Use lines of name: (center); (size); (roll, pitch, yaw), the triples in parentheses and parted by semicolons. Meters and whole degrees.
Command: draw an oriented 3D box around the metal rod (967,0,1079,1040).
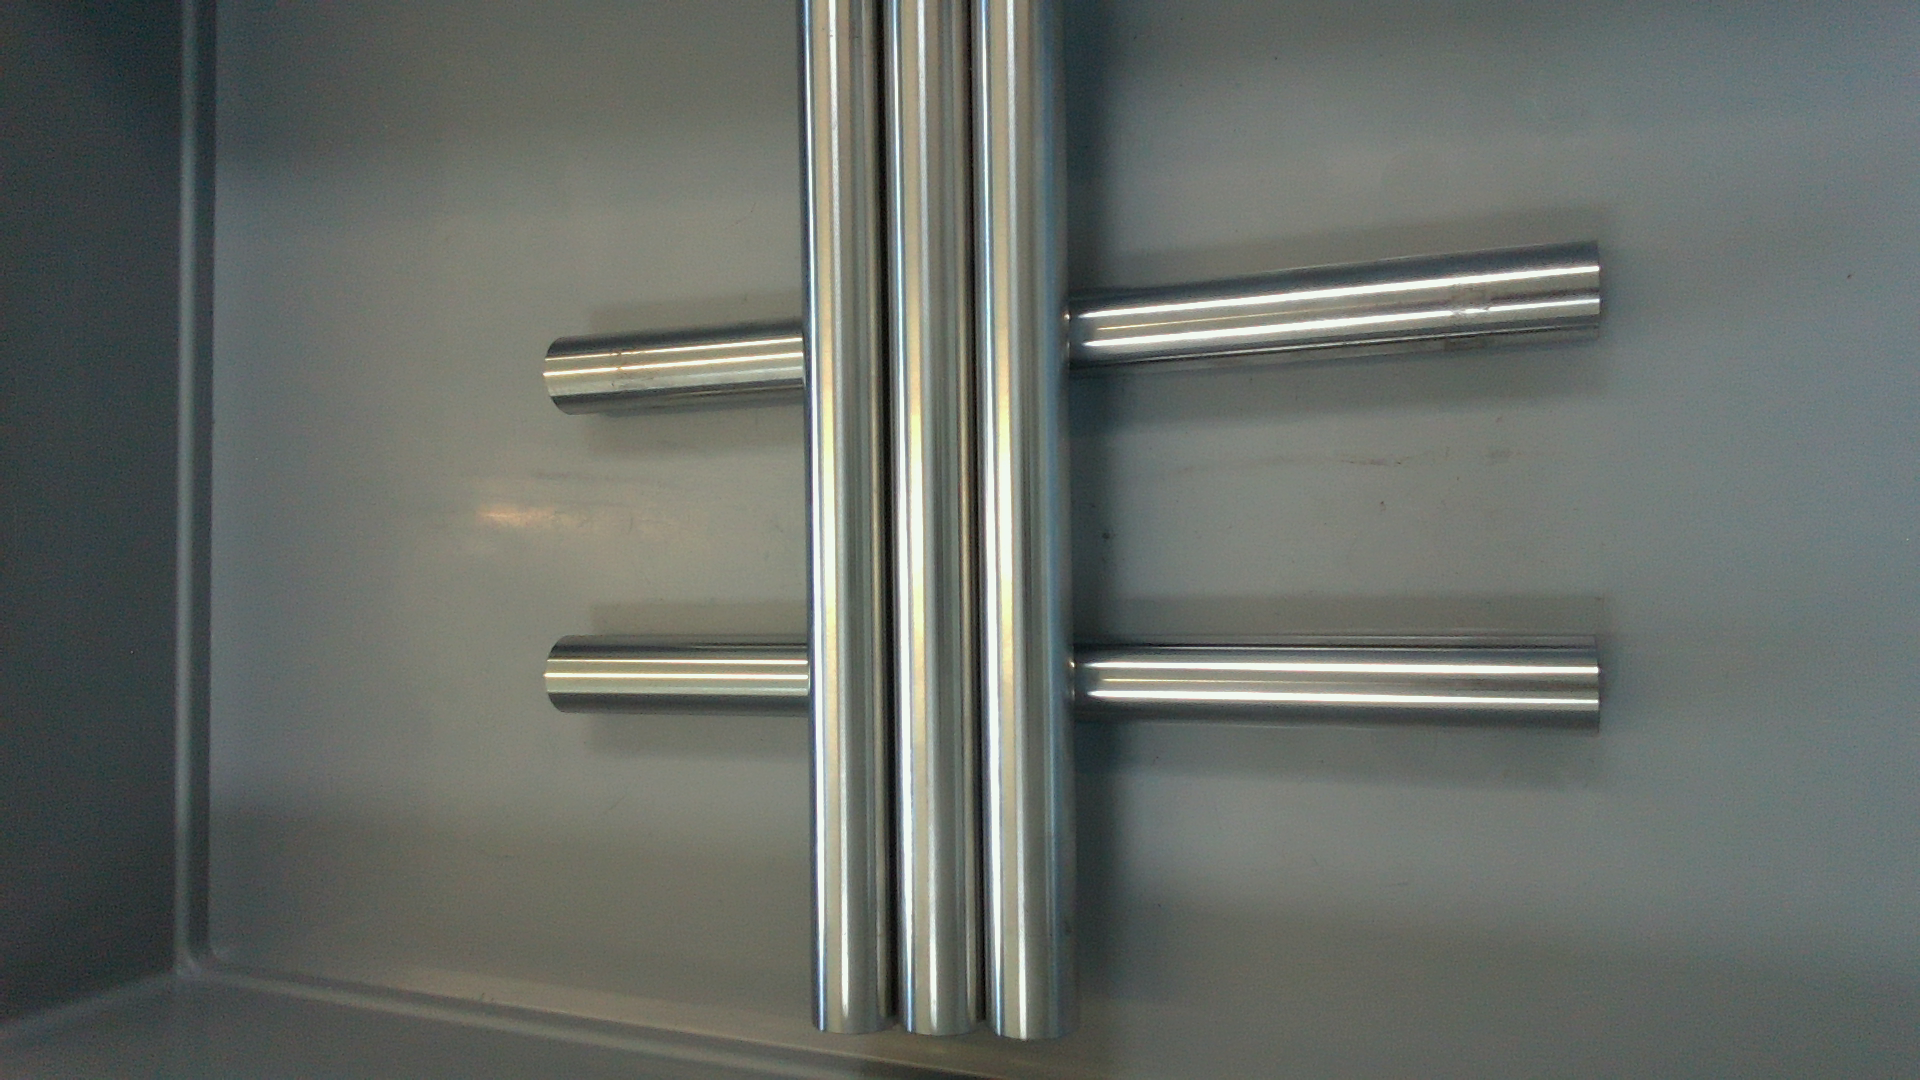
metal rod: (0.016, -0.023, 0.361); (0.025, 0.025, 0.300); (-1, 90, 20)

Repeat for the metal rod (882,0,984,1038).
metal rod: (-0.007, -0.021, 0.370); (0.025, 0.025, 0.300); (-1, 90, 20)

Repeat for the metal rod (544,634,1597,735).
metal rod: (0.015, 0.039, 0.390); (0.299, 0.025, 0.025); (-1, 90, 20)

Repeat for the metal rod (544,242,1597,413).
metal rod: (0.015, -0.057, 0.390); (0.299, 0.025, 0.025); (-2, 90, 20)

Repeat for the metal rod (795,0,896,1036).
metal rod: (-0.031, -0.018, 0.378); (0.025, 0.025, 0.300); (-1, 90, 20)
